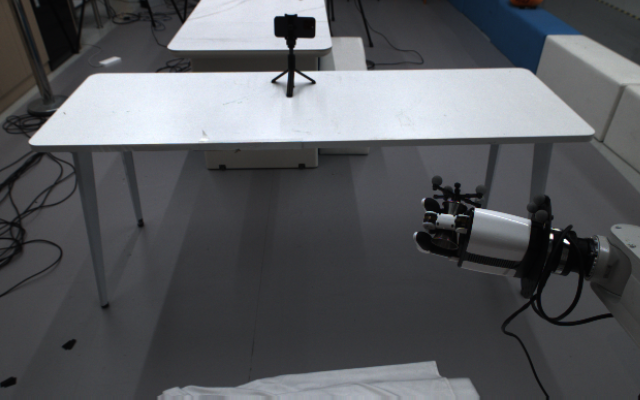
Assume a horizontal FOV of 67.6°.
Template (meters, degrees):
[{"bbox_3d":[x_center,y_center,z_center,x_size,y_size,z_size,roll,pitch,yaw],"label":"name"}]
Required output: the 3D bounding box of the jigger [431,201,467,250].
[{"bbox_3d":[0.209,0.038,0.768,0.043,0.043,0.071,13,69,16],"label":"jigger"}]
